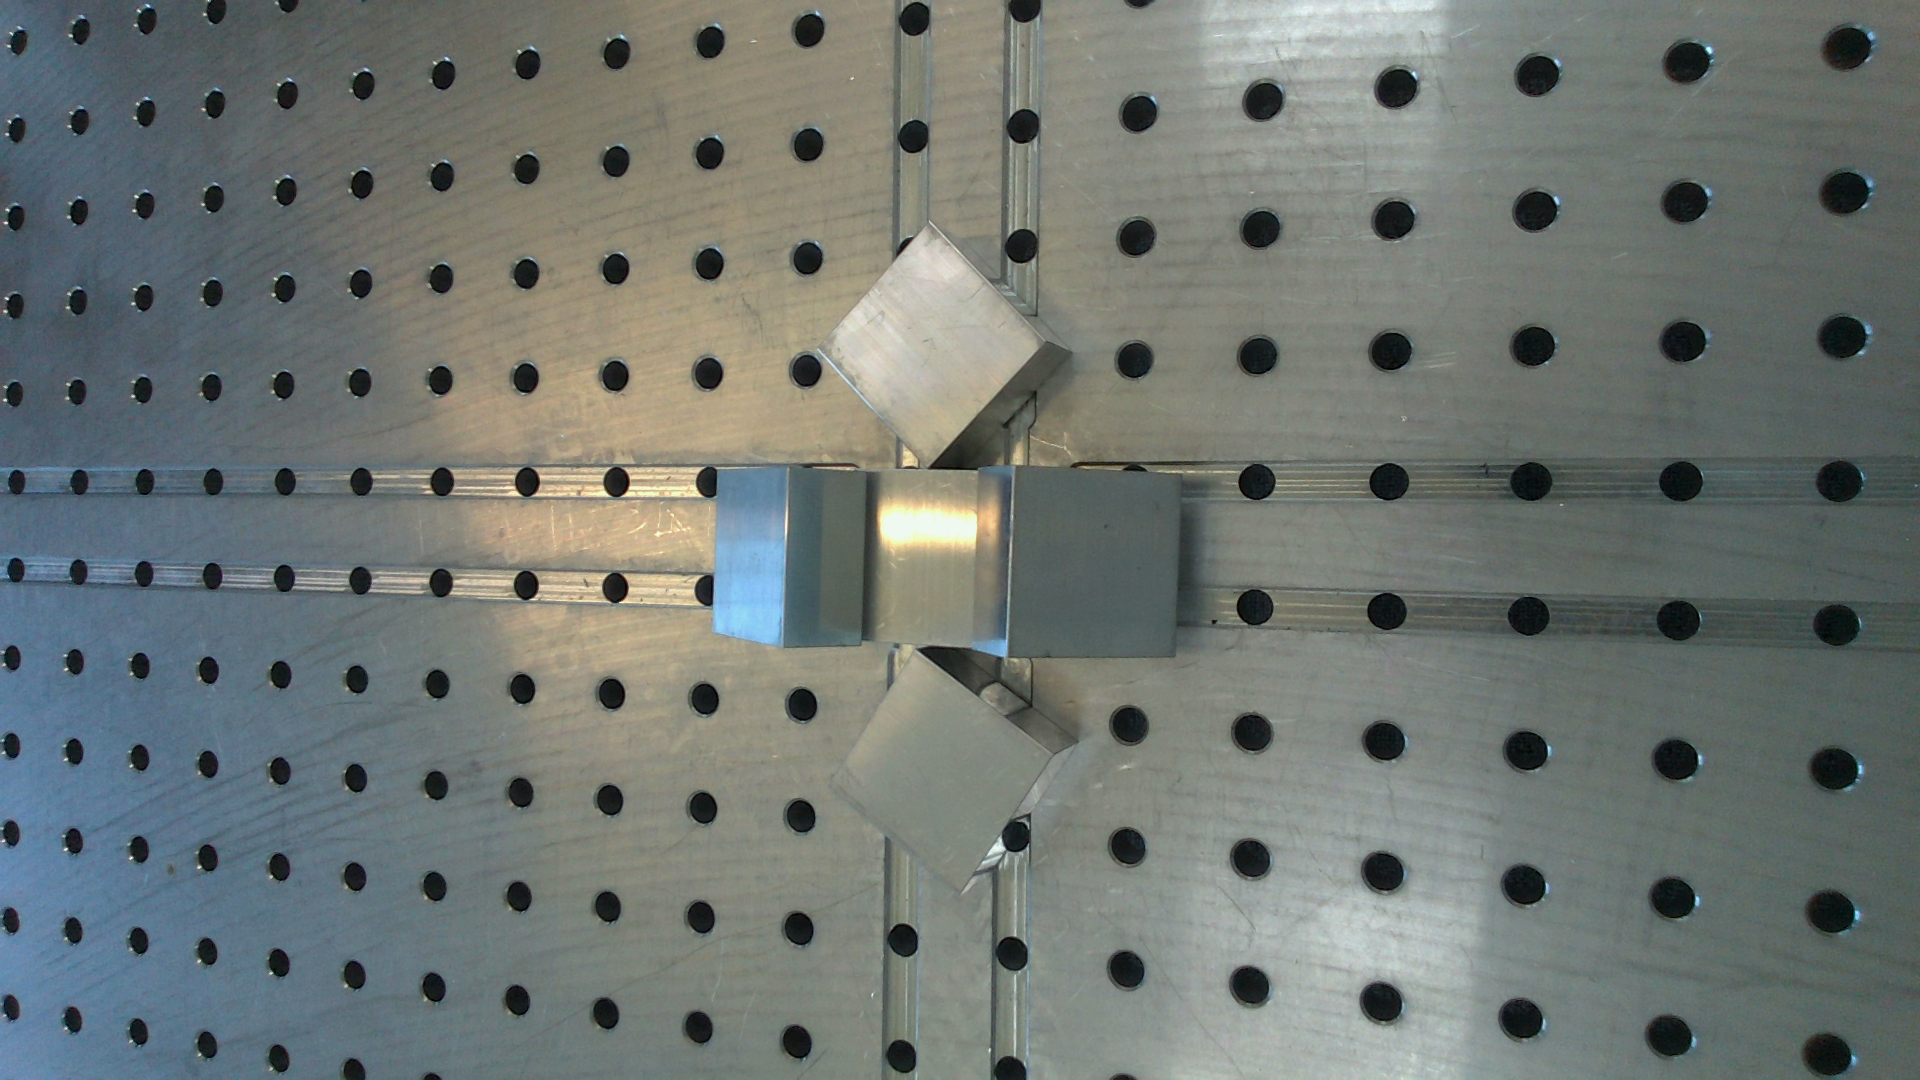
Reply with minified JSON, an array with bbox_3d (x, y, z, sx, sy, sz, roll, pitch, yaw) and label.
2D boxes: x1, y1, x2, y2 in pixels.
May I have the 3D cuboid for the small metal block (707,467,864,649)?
[{"bbox_3d":[-0.052,0.004,0.404,0.050,0.025,0.050,4,93,57],"label":"small metal block"}]

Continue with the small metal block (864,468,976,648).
[{"bbox_3d":[-0.005,0.005,0.400,0.050,0.025,0.050,1,90,20],"label":"small metal block"}]

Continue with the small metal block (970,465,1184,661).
[{"bbox_3d":[0.031,0.006,0.373,0.050,0.025,0.050,2,91,-21],"label":"small metal block"}]

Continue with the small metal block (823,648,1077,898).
[{"bbox_3d":[-0.003,0.065,0.399,0.050,0.025,0.050,36,102,18],"label":"small metal block"}]

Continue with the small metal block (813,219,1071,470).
[{"bbox_3d":[-0.005,-0.055,0.400,0.050,0.025,0.050,-46,75,14],"label":"small metal block"}]
